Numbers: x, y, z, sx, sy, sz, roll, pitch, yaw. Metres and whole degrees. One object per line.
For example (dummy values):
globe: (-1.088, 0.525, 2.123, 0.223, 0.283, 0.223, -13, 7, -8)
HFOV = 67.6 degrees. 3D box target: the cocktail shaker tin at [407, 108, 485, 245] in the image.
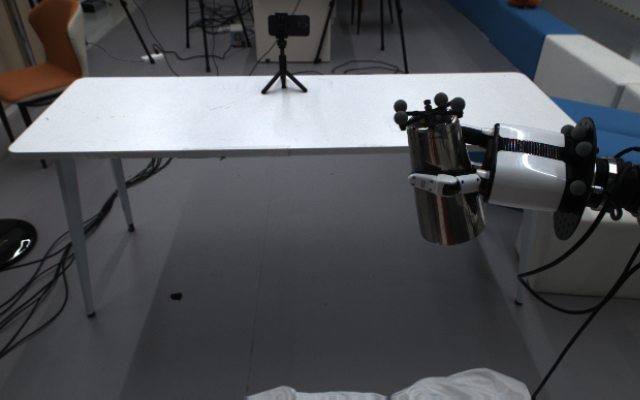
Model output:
cocktail shaker tin: (0.167, -0.034, 0.660, 0.093, 0.170, 0.093, -15, 29, 8)
